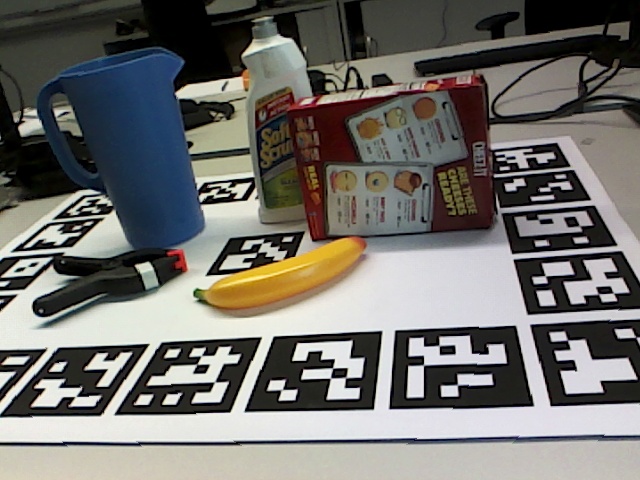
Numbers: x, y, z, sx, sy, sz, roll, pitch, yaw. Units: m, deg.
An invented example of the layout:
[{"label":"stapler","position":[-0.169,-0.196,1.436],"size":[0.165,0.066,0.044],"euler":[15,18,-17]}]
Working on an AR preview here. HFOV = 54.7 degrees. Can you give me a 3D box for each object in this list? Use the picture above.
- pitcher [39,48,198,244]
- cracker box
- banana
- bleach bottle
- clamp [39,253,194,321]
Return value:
[{"label":"pitcher","position":[-0.247,-0.120,0.807],"size":[0.188,0.242,0.134],"euler":[-11,22,-6]},{"label":"cracker box","position":[0.089,-0.096,0.719],"size":[0.214,0.164,0.072],"euler":[-6,21,15]},{"label":"banana","position":[-0.022,0.043,0.667],"size":[0.197,0.039,0.075],"euler":[-20,24,-19]},{"label":"bleach bottle","position":[-0.055,-0.138,0.809],"size":[0.103,0.250,0.068],"euler":[-6,23,13]},{"label":"clamp","position":[-0.234,0.046,0.734],"size":[0.165,0.036,0.122],"euler":[-11,22,-4]}]
